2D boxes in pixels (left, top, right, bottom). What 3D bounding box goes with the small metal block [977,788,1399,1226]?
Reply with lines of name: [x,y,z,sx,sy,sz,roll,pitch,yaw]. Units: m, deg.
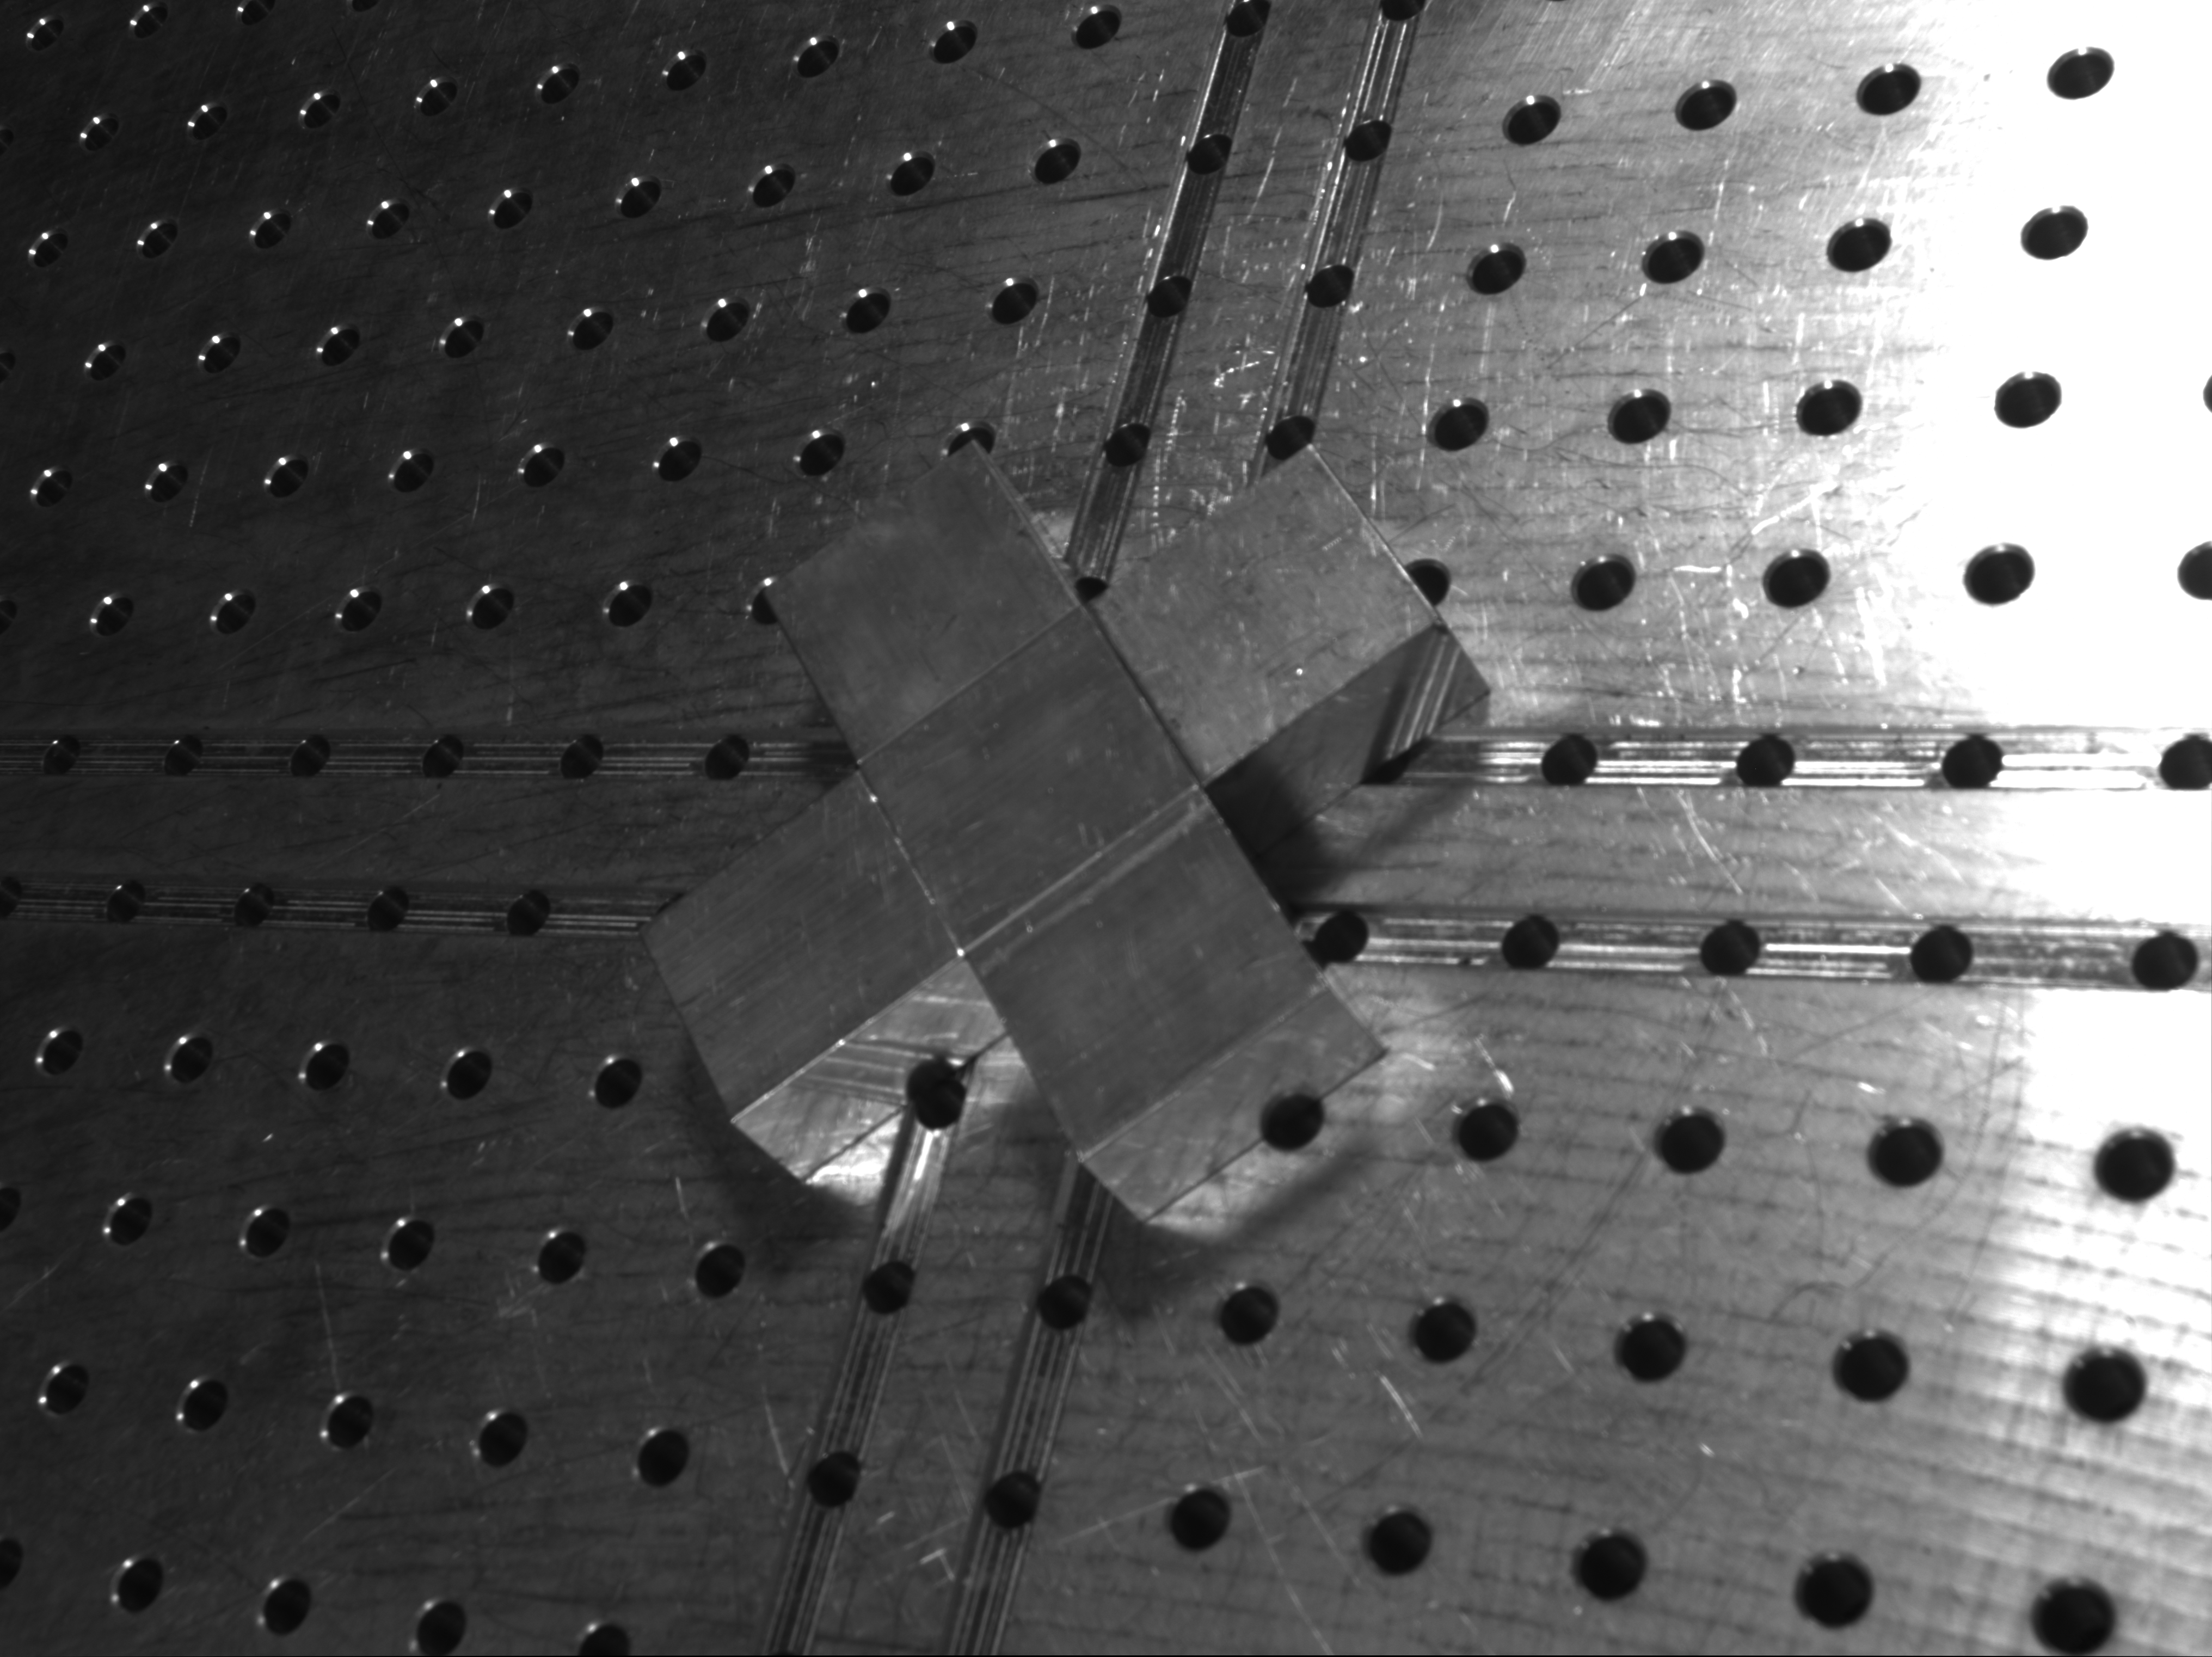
small metal block: [0.013,0.030,0.621,0.050,0.025,0.050,-35,51,5]

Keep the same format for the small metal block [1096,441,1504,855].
small metal block: [0.034,-0.032,0.648,0.050,0.025,0.050,-36,51,5]

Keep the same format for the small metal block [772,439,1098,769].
small metal block: [-0.027,-0.036,0.685,0.050,0.025,0.050,-35,51,5]

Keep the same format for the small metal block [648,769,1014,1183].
small metal block: [-0.047,0.026,0.657,0.050,0.025,0.050,-36,51,5]

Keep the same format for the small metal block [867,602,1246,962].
small metal block: [-0.007,-0.004,0.652,0.050,0.025,0.050,-36,51,5]
